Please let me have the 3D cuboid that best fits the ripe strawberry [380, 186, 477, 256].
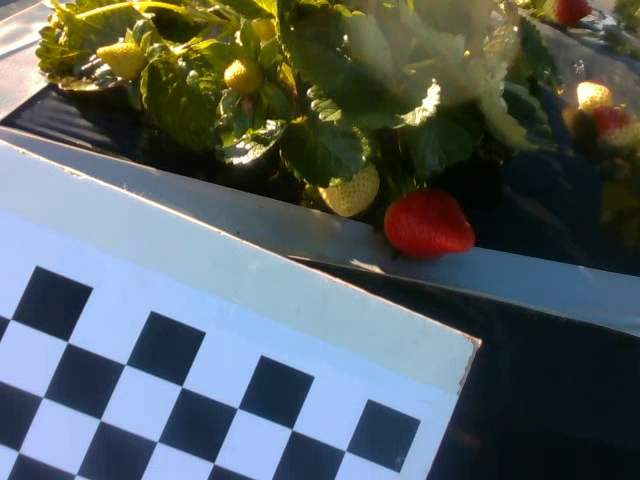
[{"bbox_3d":[0.056,-0.006,0.319,0.048,0.045,0.064,50,-6,-29],"label":"ripe strawberry"}]
